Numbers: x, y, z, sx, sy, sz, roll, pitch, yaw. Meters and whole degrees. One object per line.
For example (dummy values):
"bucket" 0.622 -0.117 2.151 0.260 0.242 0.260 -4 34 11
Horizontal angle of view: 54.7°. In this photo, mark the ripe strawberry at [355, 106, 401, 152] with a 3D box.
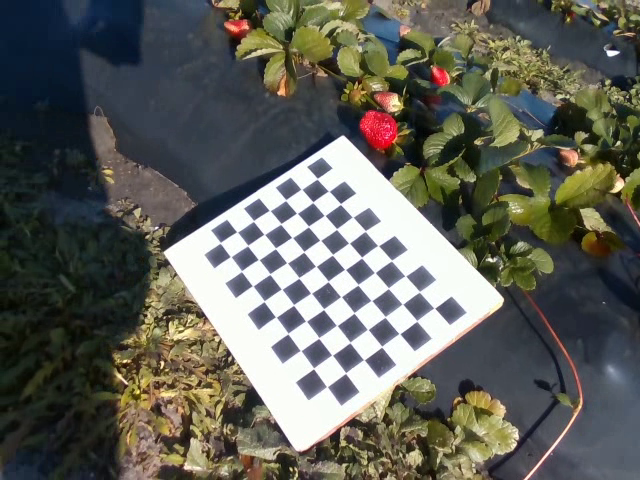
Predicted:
"ripe strawberry" 0.073 -0.141 0.776 0.058 0.066 0.061 -10 -30 33
